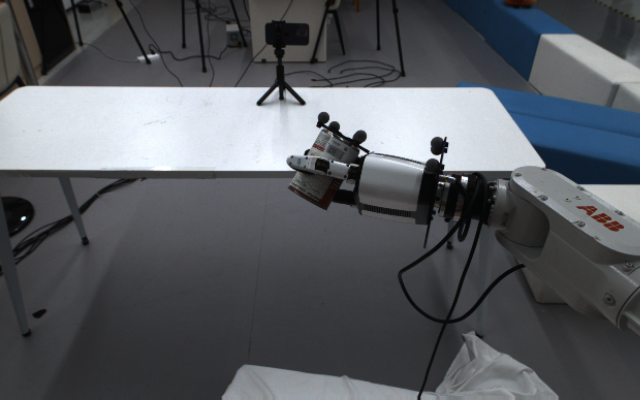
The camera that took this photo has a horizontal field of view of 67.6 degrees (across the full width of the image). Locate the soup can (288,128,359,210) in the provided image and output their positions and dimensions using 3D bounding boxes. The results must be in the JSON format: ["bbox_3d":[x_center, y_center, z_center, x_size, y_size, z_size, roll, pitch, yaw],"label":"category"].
[{"bbox_3d":[0.006,-0.045,0.717,0.067,0.101,0.067,30,2,-1],"label":"soup can"}]
